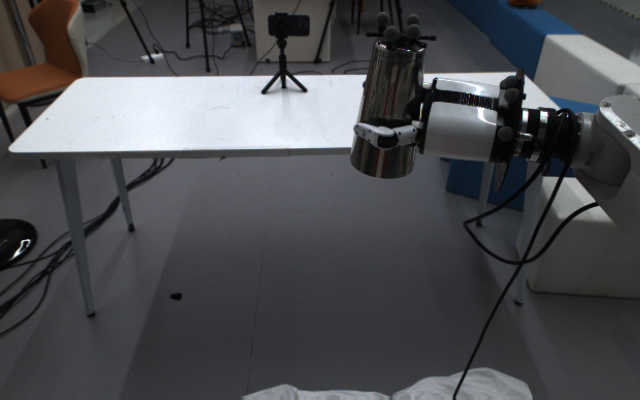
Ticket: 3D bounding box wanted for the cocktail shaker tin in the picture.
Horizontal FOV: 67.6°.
[{"bbox_3d":[0.096,-0.127,0.650,0.093,0.170,0.093,3,34,-2],"label":"cocktail shaker tin"}]
